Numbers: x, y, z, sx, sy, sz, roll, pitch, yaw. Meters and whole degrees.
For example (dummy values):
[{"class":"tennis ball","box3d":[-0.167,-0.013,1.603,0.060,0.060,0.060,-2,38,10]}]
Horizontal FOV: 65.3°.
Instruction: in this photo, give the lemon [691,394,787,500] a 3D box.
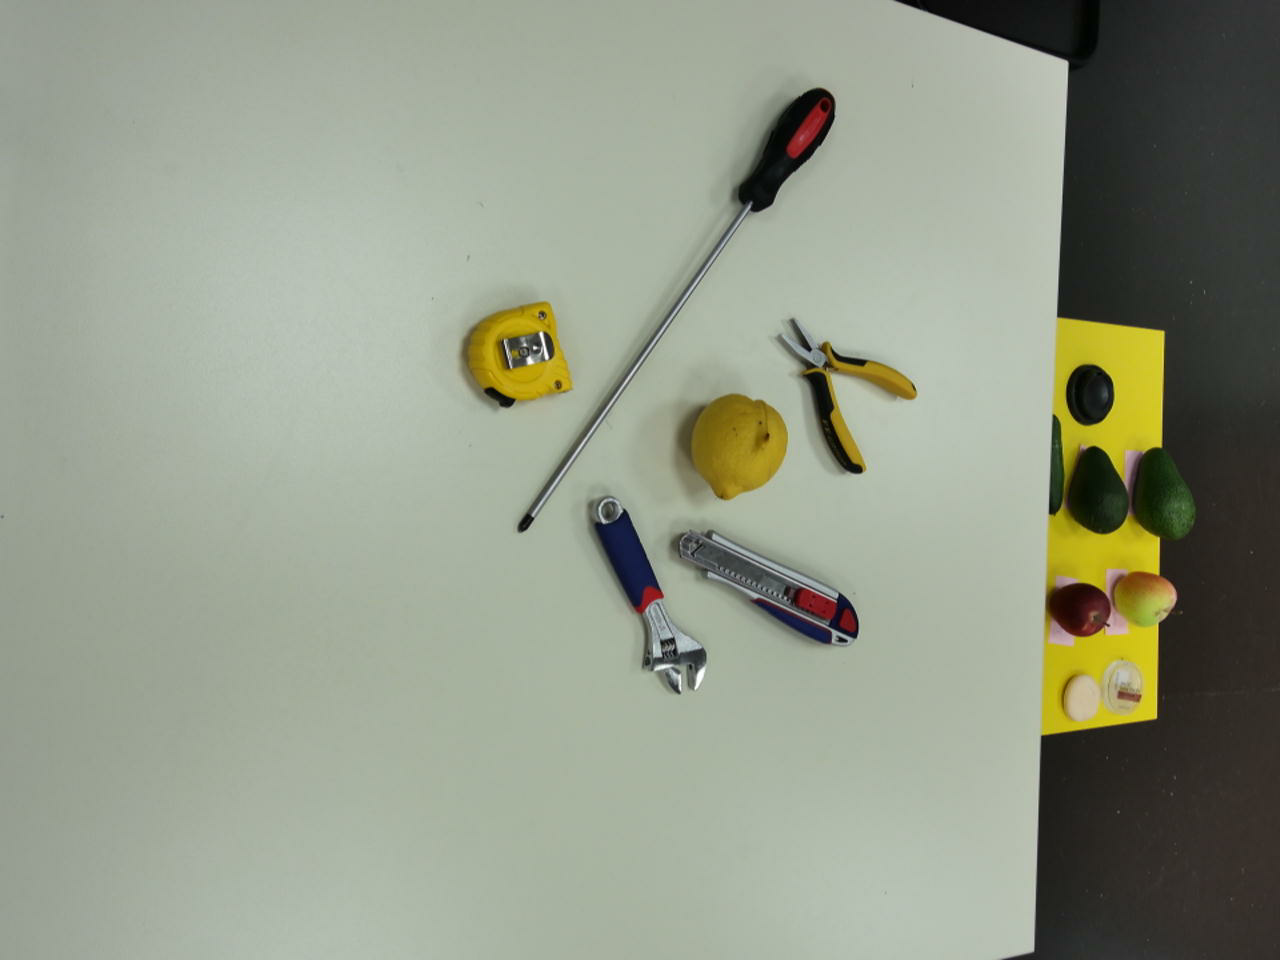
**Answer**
[{"class":"lemon","box3d":[0.073,-0.026,0.720,0.071,0.071,0.070,-33,106,-24]}]
